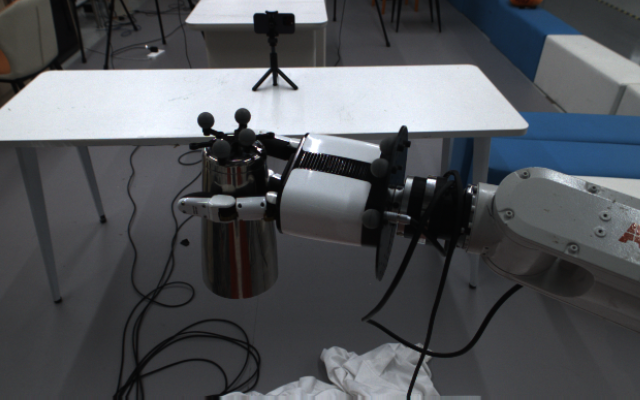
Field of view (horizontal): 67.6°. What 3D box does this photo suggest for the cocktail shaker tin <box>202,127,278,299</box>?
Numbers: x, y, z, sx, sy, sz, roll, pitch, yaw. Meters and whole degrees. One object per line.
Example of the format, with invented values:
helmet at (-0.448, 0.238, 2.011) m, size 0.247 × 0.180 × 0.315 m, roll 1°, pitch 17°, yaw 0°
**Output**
cocktail shaker tin at (-0.090, 0.015, 0.549) m, size 0.093 × 0.170 × 0.093 m, roll 3°, pitch 33°, yaw -2°
